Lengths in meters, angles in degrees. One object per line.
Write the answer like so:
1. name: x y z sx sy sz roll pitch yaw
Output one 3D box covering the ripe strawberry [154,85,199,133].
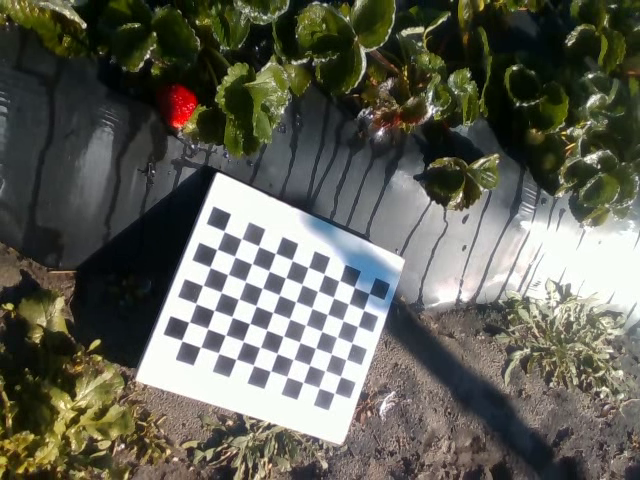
1. ripe strawberry: -0.135 -0.127 0.551 0.041 0.053 0.047 17 -45 -20
